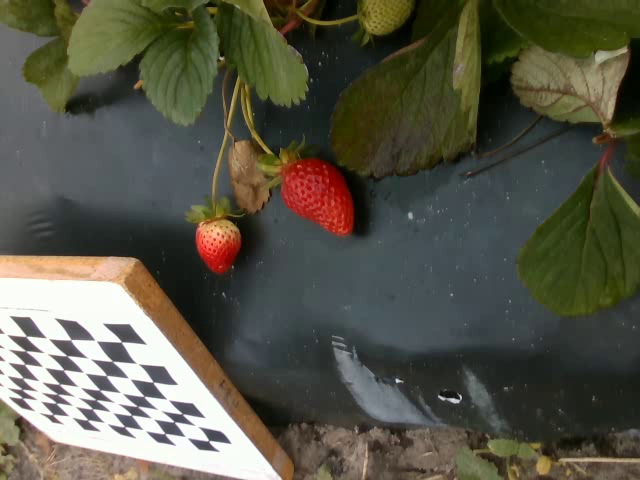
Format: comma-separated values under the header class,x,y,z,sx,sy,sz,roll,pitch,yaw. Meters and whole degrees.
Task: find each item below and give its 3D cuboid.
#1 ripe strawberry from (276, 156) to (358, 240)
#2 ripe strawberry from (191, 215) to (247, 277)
class,x,y,z,sx,sy,sz,roll,pitch,yaw
ripe strawberry,-0.001,-0.023,0.321,0.042,0.059,0.044,-38,-7,-28
ripe strawberry,-0.064,0.004,0.364,0.036,0.040,0.028,8,31,34
